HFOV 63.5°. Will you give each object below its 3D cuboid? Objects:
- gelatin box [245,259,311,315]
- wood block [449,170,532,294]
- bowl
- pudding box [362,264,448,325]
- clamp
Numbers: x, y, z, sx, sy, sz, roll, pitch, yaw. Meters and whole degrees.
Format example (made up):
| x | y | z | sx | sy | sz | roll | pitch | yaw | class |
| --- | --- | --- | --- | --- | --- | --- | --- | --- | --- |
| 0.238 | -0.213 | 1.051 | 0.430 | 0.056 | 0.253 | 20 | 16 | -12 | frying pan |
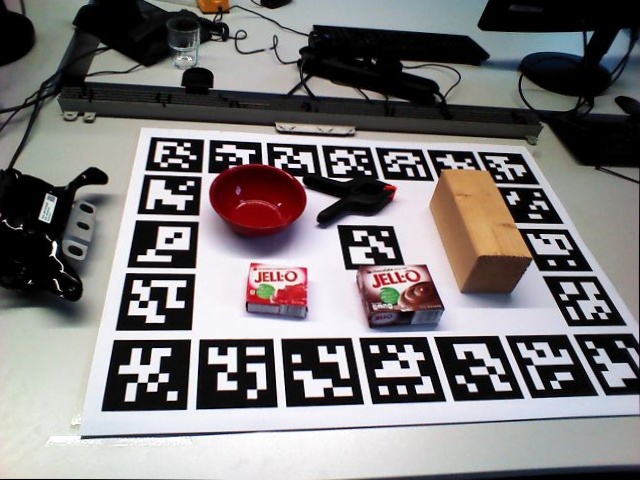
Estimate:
| x | y | z | sx | sy | sz | roll | pitch | yaw | class |
| --- | --- | --- | --- | --- | --- | --- | --- | --- | --- |
| -0.060 | 0.068 | 0.756 | 0.089 | 0.030 | 0.073 | 7 | 48 | -4 | gelatin box |
| 0.275 | -0.020 | 0.858 | 0.090 | 0.091 | 0.205 | 4 | 47 | -8 | wood block |
| -0.100 | -0.060 | 0.864 | 0.162 | 0.055 | 0.160 | 5 | 49 | -7 | bowl |
| 0.125 | 0.080 | 0.775 | 0.114 | 0.039 | 0.089 | -1 | 51 | -8 | pudding box |
| 0.054 | -0.080 | 0.925 | 0.165 | 0.037 | 0.121 | -6 | 48 | -18 | clamp |
